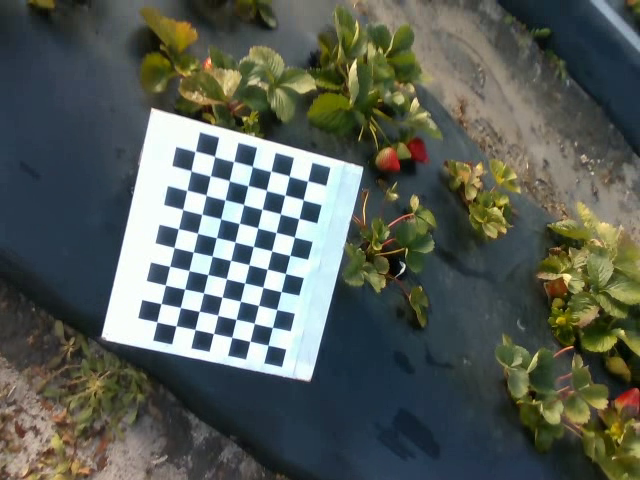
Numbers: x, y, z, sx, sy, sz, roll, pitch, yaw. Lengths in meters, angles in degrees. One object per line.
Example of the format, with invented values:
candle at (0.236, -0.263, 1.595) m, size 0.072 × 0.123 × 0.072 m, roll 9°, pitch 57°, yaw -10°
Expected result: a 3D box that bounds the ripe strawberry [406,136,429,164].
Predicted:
ripe strawberry at (0.188, -0.165, 1.176) m, size 0.048 × 0.065 × 0.050 m, roll -35°, pitch 5°, yaw -4°
